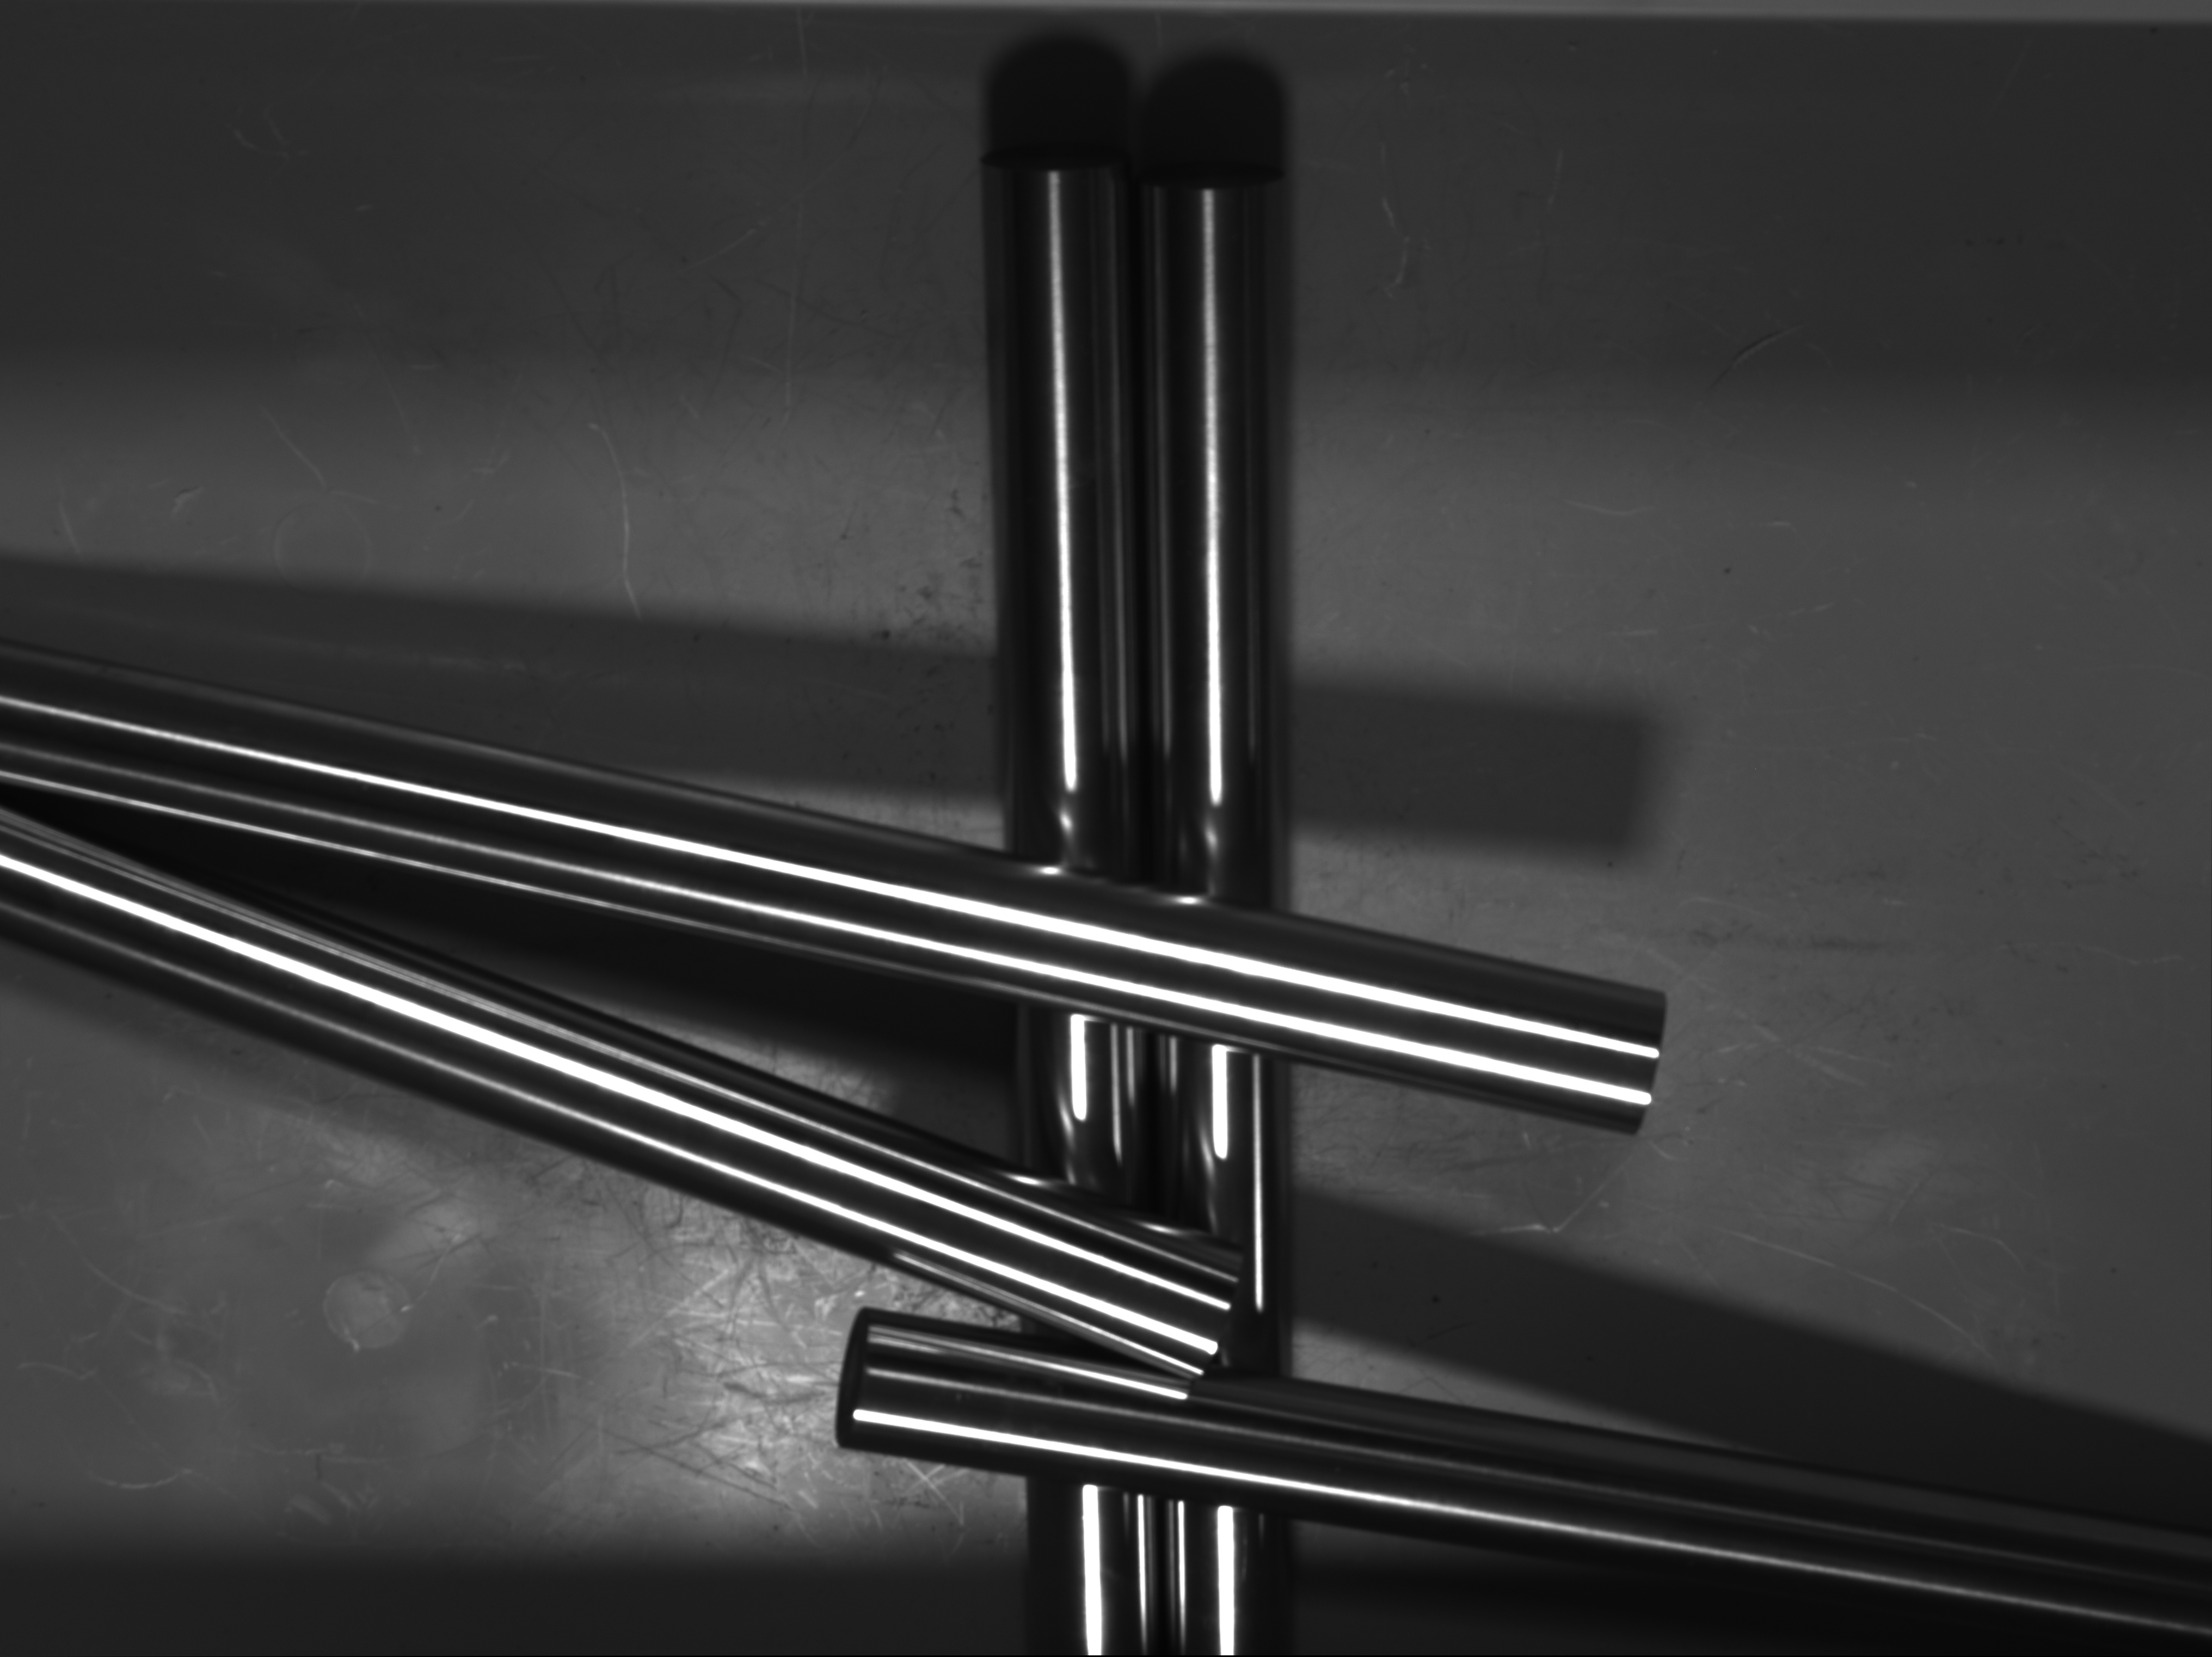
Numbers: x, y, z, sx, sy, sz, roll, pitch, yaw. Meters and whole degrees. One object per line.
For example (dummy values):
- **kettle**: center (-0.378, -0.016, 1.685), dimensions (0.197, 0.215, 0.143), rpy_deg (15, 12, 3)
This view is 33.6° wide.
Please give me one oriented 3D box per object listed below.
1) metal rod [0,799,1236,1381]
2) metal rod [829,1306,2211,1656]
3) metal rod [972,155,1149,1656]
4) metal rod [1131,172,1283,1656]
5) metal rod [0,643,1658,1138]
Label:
- **metal rod**: center (-0.122, 0.034, 0.639), dimensions (0.300, 0.025, 0.025), rpy_deg (20, 109, -2)
- **metal rod**: center (0.099, 0.125, 0.670), dimensions (0.300, 0.025, 0.025), rpy_deg (11, 110, -10)
- **metal rod**: center (-0.007, 0.033, 0.652), dimensions (0.025, 0.025, 0.300), rpy_deg (-1, 110, 0)
- **metal rod**: center (0.019, 0.035, 0.653), dimensions (0.025, 0.025, 0.300), rpy_deg (-1, 110, 0)
- **metal rod**: center (-0.056, 0.009, 0.624), dimensions (0.300, 0.025, 0.025), rpy_deg (12, 110, 3)
